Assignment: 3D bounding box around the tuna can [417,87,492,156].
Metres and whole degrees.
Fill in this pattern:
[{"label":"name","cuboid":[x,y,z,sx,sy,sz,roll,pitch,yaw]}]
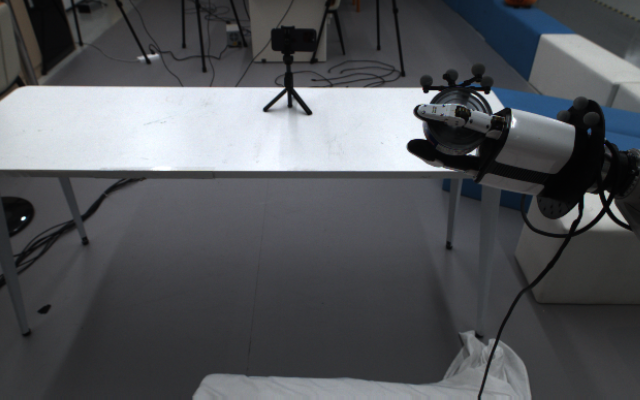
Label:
[{"label":"tuna can","cuboid":[0.180,-0.105,0.639,0.085,0.034,0.085,-1,74,4]}]
